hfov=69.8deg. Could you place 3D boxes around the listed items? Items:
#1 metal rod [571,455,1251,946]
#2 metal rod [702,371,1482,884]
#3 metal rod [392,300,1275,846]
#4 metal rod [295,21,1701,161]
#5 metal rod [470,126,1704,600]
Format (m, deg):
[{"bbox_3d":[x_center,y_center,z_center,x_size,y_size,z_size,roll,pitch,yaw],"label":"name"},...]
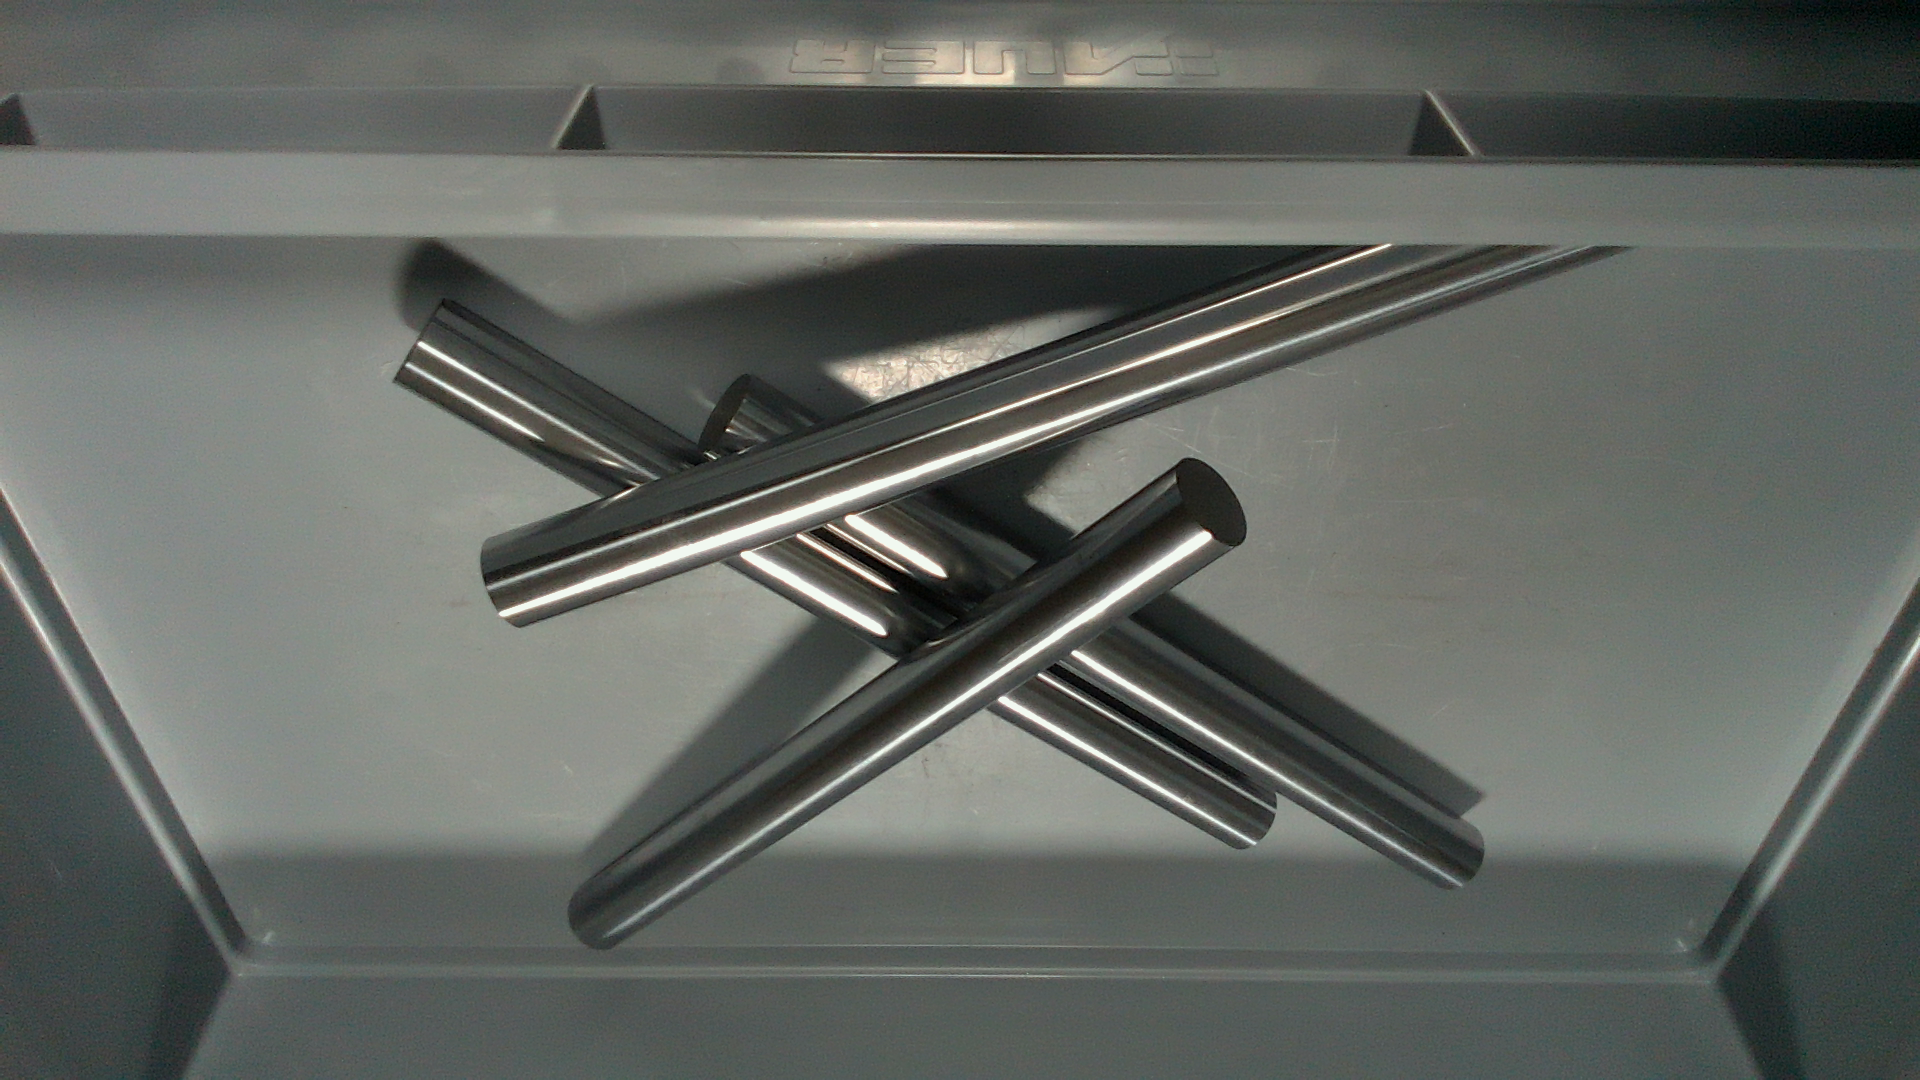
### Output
[{"bbox_3d":[-0.035,0.064,0.417,0.025,0.025,0.299,33,130,-25],"label":"metal rod"},{"bbox_3d":[0.055,0.038,0.422,0.301,0.025,0.025,31,123,-24],"label":"metal rod"},{"bbox_3d":[-0.019,0.021,0.408,0.301,0.025,0.025,31,123,-24],"label":"metal rod"},{"bbox_3d":[0.008,-0.100,0.306,0.300,0.025,0.025,-1,130,0],"label":"metal rod"},{"bbox_3d":[0.024,-0.042,0.335,0.300,0.025,0.025,-18,128,6],"label":"metal rod"}]
